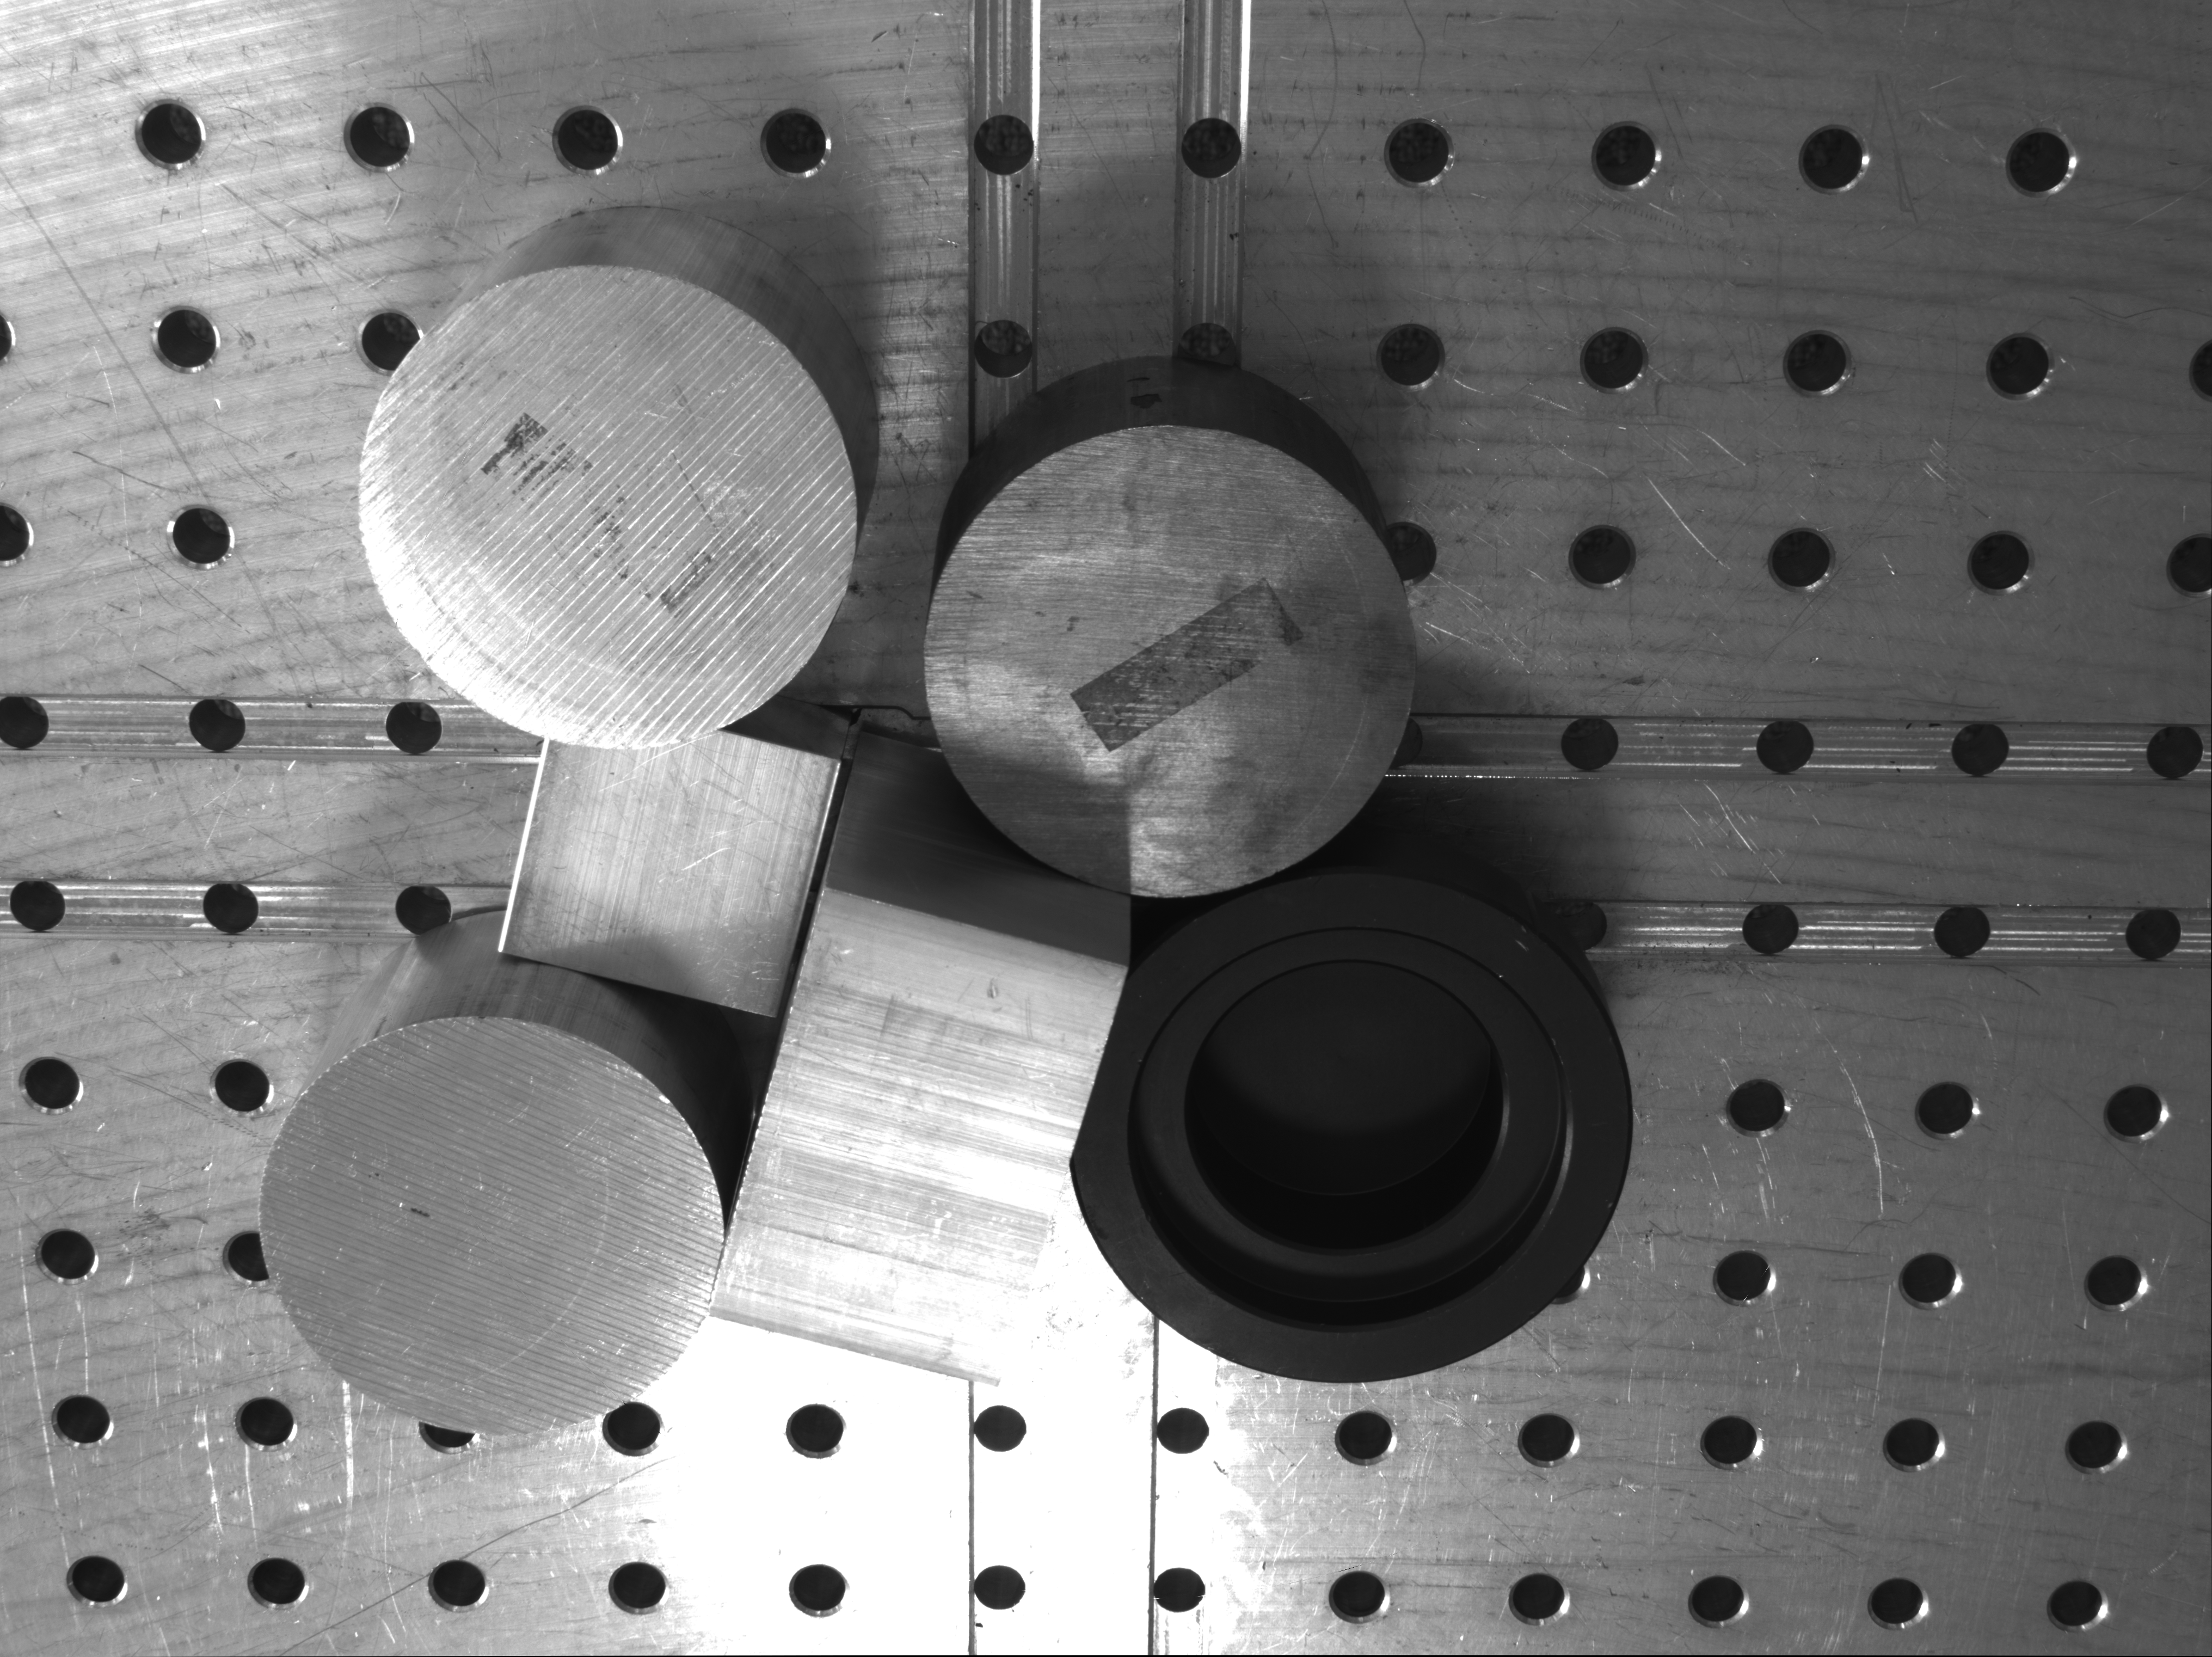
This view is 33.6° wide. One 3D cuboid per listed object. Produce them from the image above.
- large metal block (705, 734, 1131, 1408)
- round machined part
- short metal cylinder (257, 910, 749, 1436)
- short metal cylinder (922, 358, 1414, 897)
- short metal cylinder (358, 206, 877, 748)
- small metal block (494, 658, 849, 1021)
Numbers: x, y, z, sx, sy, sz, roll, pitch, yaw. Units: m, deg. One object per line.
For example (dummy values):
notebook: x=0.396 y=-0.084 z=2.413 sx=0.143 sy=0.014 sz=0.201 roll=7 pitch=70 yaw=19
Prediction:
large metal block: x=-0.031 y=0.040 z=0.628 sx=0.050 sy=0.080 sz=0.080 roll=15 pitch=109 yaw=-5
round machined part: x=0.042 y=0.046 z=0.653 sx=0.098 sy=0.042 sz=0.098 roll=0 pitch=110 yaw=0
short metal cylinder: x=-0.106 y=0.061 z=0.654 sx=0.080 sy=0.050 sz=0.080 roll=0 pitch=110 yaw=0
short metal cylinder: x=0.010 y=-0.035 z=0.620 sx=0.080 sy=0.050 sz=0.080 roll=0 pitch=110 yaw=0
short metal cylinder: x=-0.080 y=-0.059 z=0.611 sx=0.080 sy=0.050 sz=0.080 roll=0 pitch=110 yaw=0
small metal block: x=-0.076 y=0.001 z=0.646 sx=0.050 sy=0.025 sz=0.050 roll=14 pitch=109 yaw=-5
